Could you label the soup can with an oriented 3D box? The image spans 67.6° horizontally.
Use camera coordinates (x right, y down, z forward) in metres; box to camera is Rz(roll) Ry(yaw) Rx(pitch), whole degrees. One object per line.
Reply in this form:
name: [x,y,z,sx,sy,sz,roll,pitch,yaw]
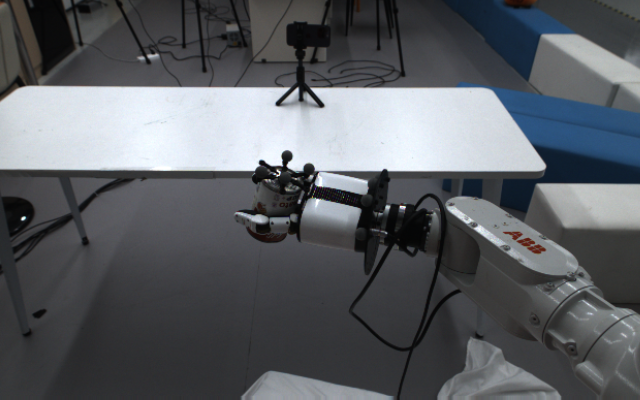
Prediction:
soup can: [-0.070,0.008,0.740,0.067,0.101,0.067,14,36,-10]
